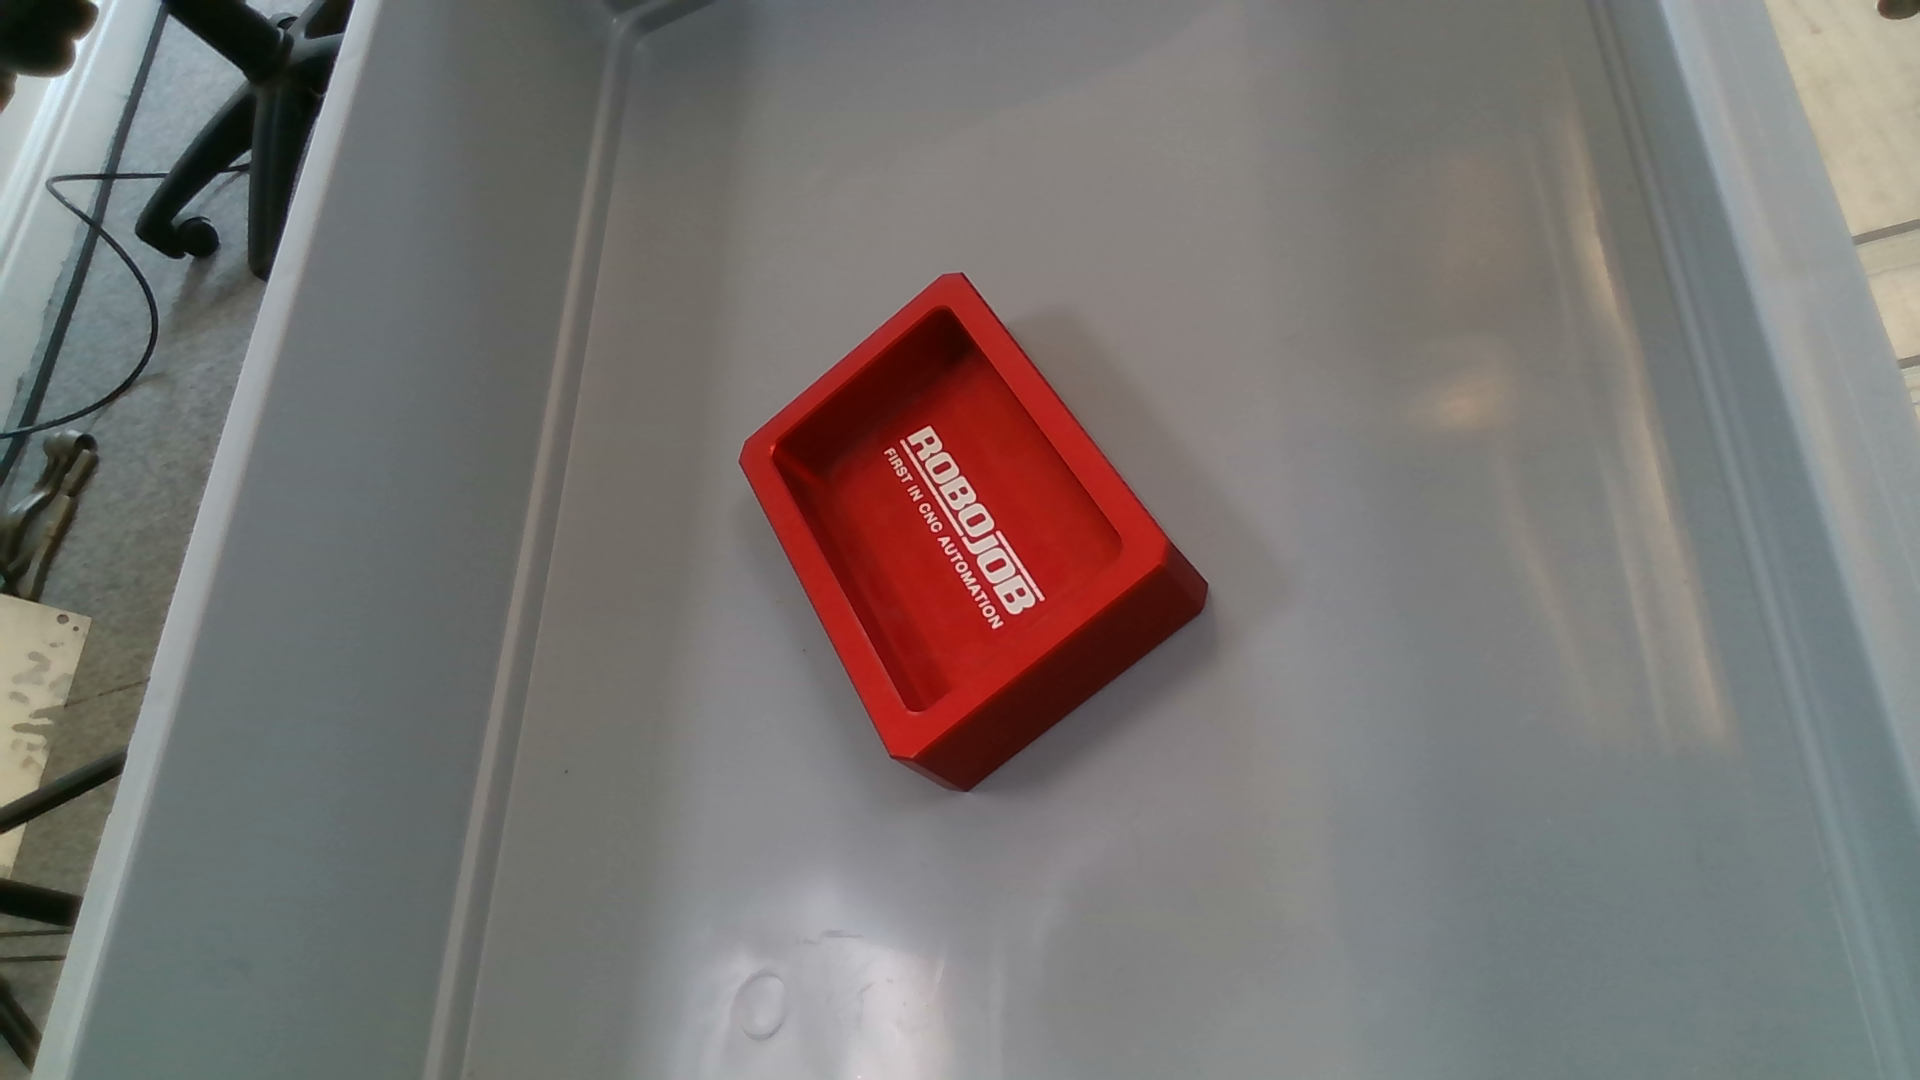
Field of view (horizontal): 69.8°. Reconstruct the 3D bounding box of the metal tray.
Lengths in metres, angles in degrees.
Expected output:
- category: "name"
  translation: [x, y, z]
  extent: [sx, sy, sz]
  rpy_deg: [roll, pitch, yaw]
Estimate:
- category: "metal tray"
  translation: [-0.002, -0.006, 0.391]
  extent: [0.090, 0.030, 0.130]
  rpy_deg: [-39, 52, 9]
